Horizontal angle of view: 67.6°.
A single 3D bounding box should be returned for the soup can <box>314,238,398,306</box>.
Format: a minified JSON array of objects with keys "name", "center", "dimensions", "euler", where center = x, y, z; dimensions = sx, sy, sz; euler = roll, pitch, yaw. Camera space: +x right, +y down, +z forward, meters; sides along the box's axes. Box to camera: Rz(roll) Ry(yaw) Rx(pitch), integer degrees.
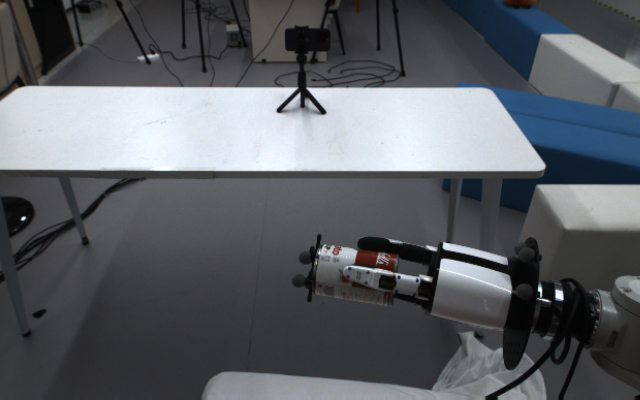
[{"name":"soup can","center":[0.049,0.095,0.623],"dimensions":[0.101,0.067,0.067],"euler":[6,35,11]}]
